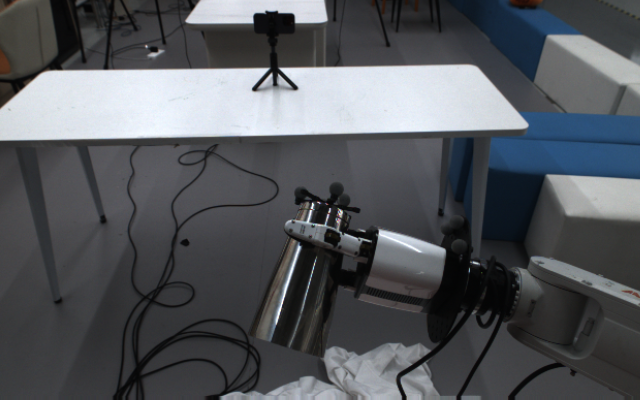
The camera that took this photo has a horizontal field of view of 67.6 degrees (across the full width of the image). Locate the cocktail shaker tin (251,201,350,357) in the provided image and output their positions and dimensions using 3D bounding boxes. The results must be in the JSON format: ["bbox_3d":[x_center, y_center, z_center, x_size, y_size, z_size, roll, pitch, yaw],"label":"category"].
[{"bbox_3d":[-0.015,0.091,0.585,0.093,0.093,0.170,12,72,14],"label":"cocktail shaker tin"}]
